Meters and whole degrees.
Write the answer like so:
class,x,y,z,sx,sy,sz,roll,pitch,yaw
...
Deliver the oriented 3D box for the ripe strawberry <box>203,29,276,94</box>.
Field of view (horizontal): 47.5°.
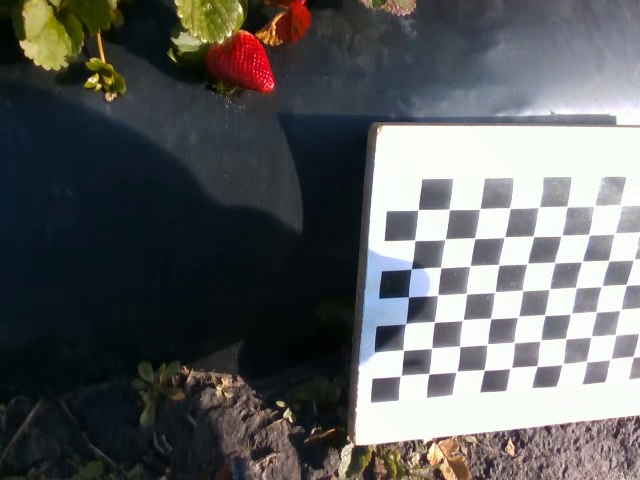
class,x,y,z,sx,sy,sz,roll,pitch,yaw
ripe strawberry,-0.049,-0.112,0.463,0.056,0.041,0.040,47,12,19
